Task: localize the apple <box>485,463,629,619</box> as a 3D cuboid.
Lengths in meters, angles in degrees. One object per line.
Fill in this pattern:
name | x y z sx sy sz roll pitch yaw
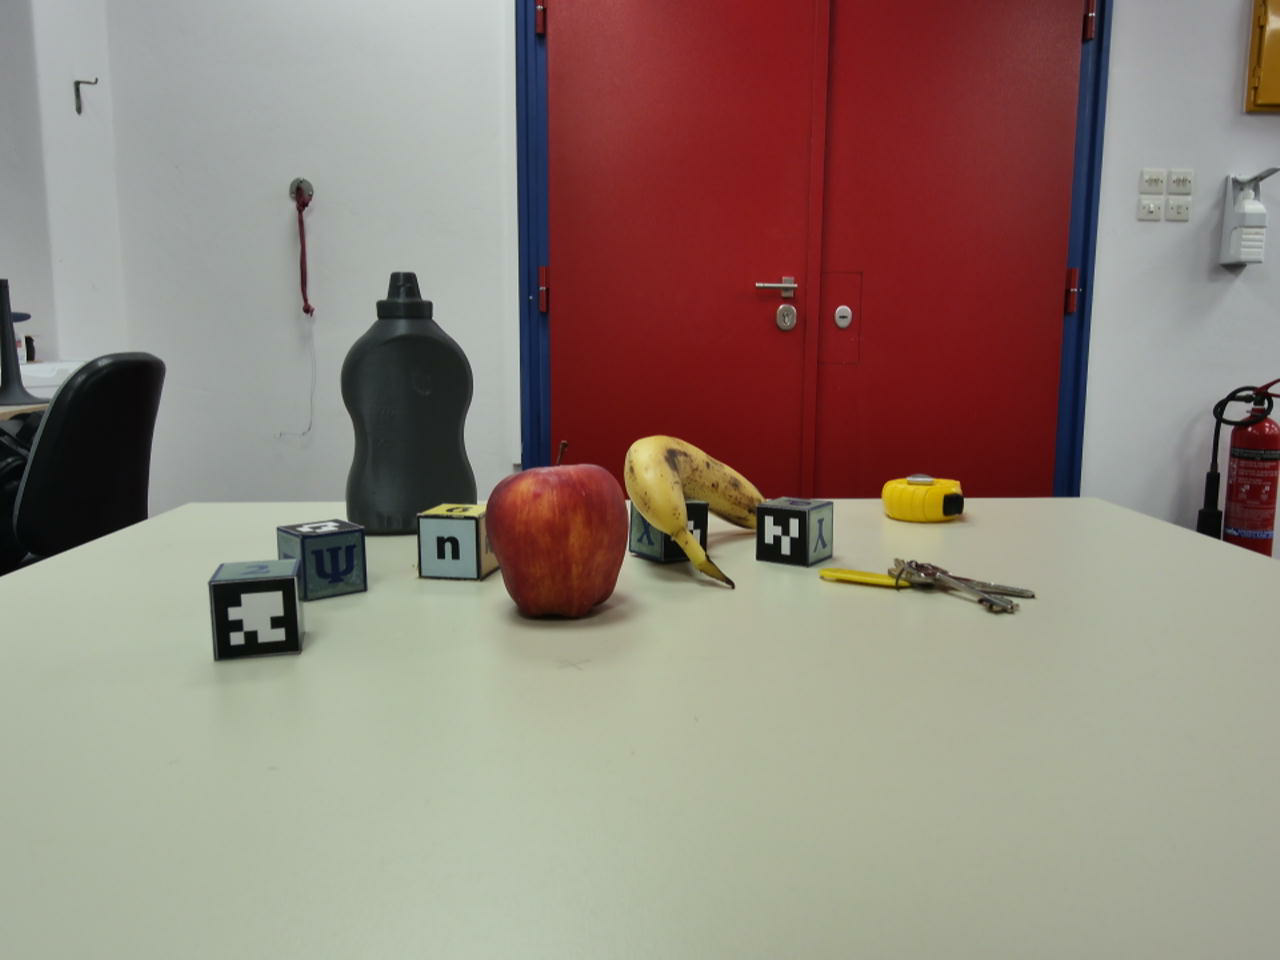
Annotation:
apple | -0.045 0.026 0.531 0.083 0.090 0.083 0 6 0
